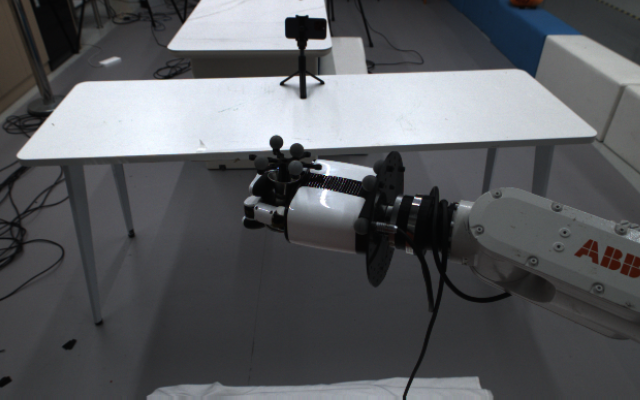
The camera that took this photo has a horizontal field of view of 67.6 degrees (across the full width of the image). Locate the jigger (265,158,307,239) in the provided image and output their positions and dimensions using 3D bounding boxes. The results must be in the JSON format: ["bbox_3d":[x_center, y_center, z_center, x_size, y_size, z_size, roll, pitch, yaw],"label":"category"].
[{"bbox_3d":[-0.045,0.001,0.603,0.043,0.071,0.043,5,26,-3],"label":"jigger"}]
